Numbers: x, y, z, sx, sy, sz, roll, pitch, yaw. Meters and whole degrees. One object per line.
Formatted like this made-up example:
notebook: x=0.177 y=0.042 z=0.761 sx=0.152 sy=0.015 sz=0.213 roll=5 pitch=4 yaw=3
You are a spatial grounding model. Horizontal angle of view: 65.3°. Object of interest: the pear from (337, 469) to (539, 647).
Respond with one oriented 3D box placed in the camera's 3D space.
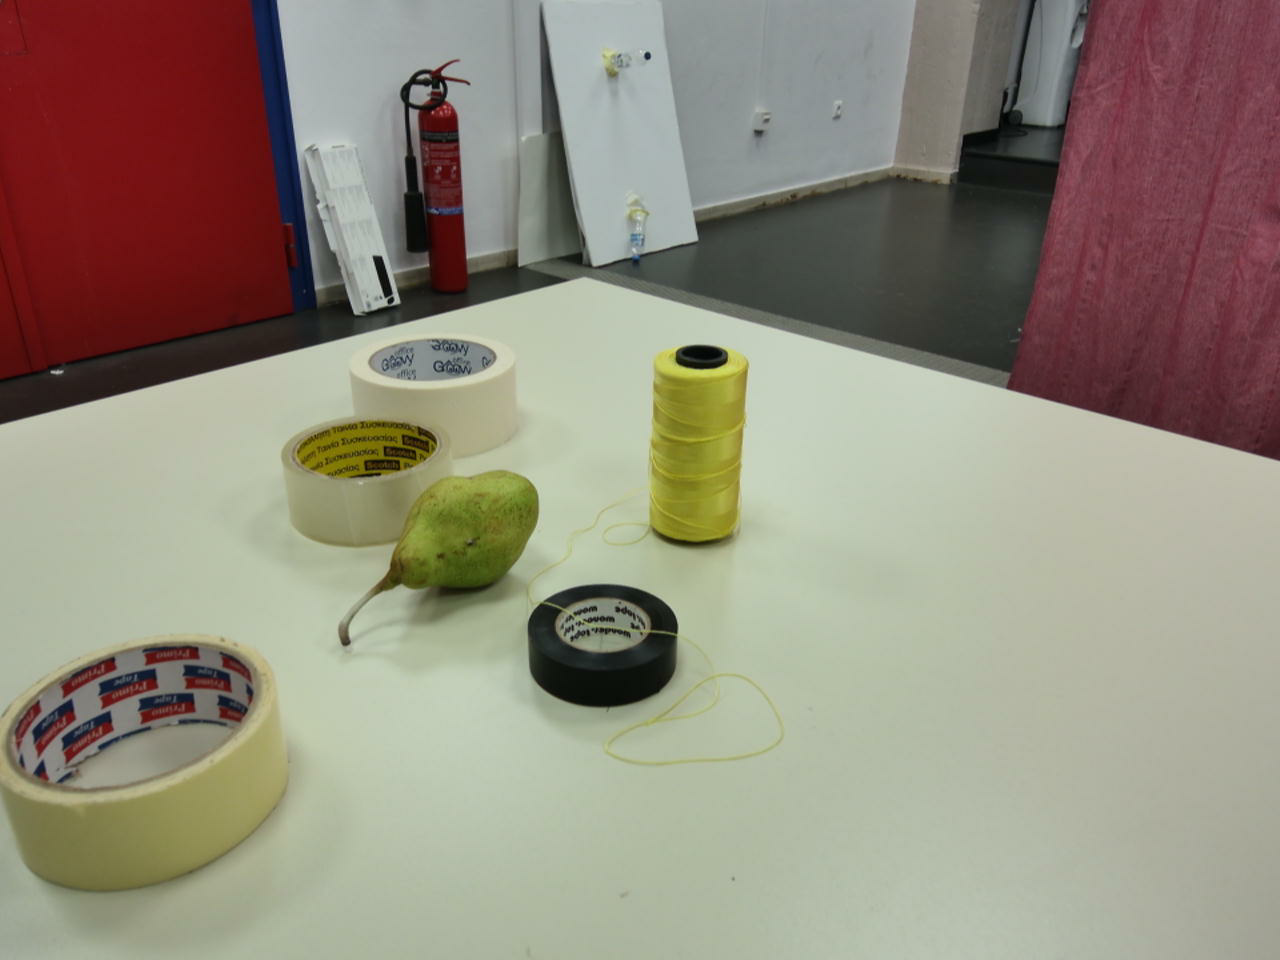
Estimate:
pear: x=-0.100 y=0.029 z=0.478 sx=0.111 sy=0.056 sz=0.056 roll=-15 pitch=29 yaw=-31
